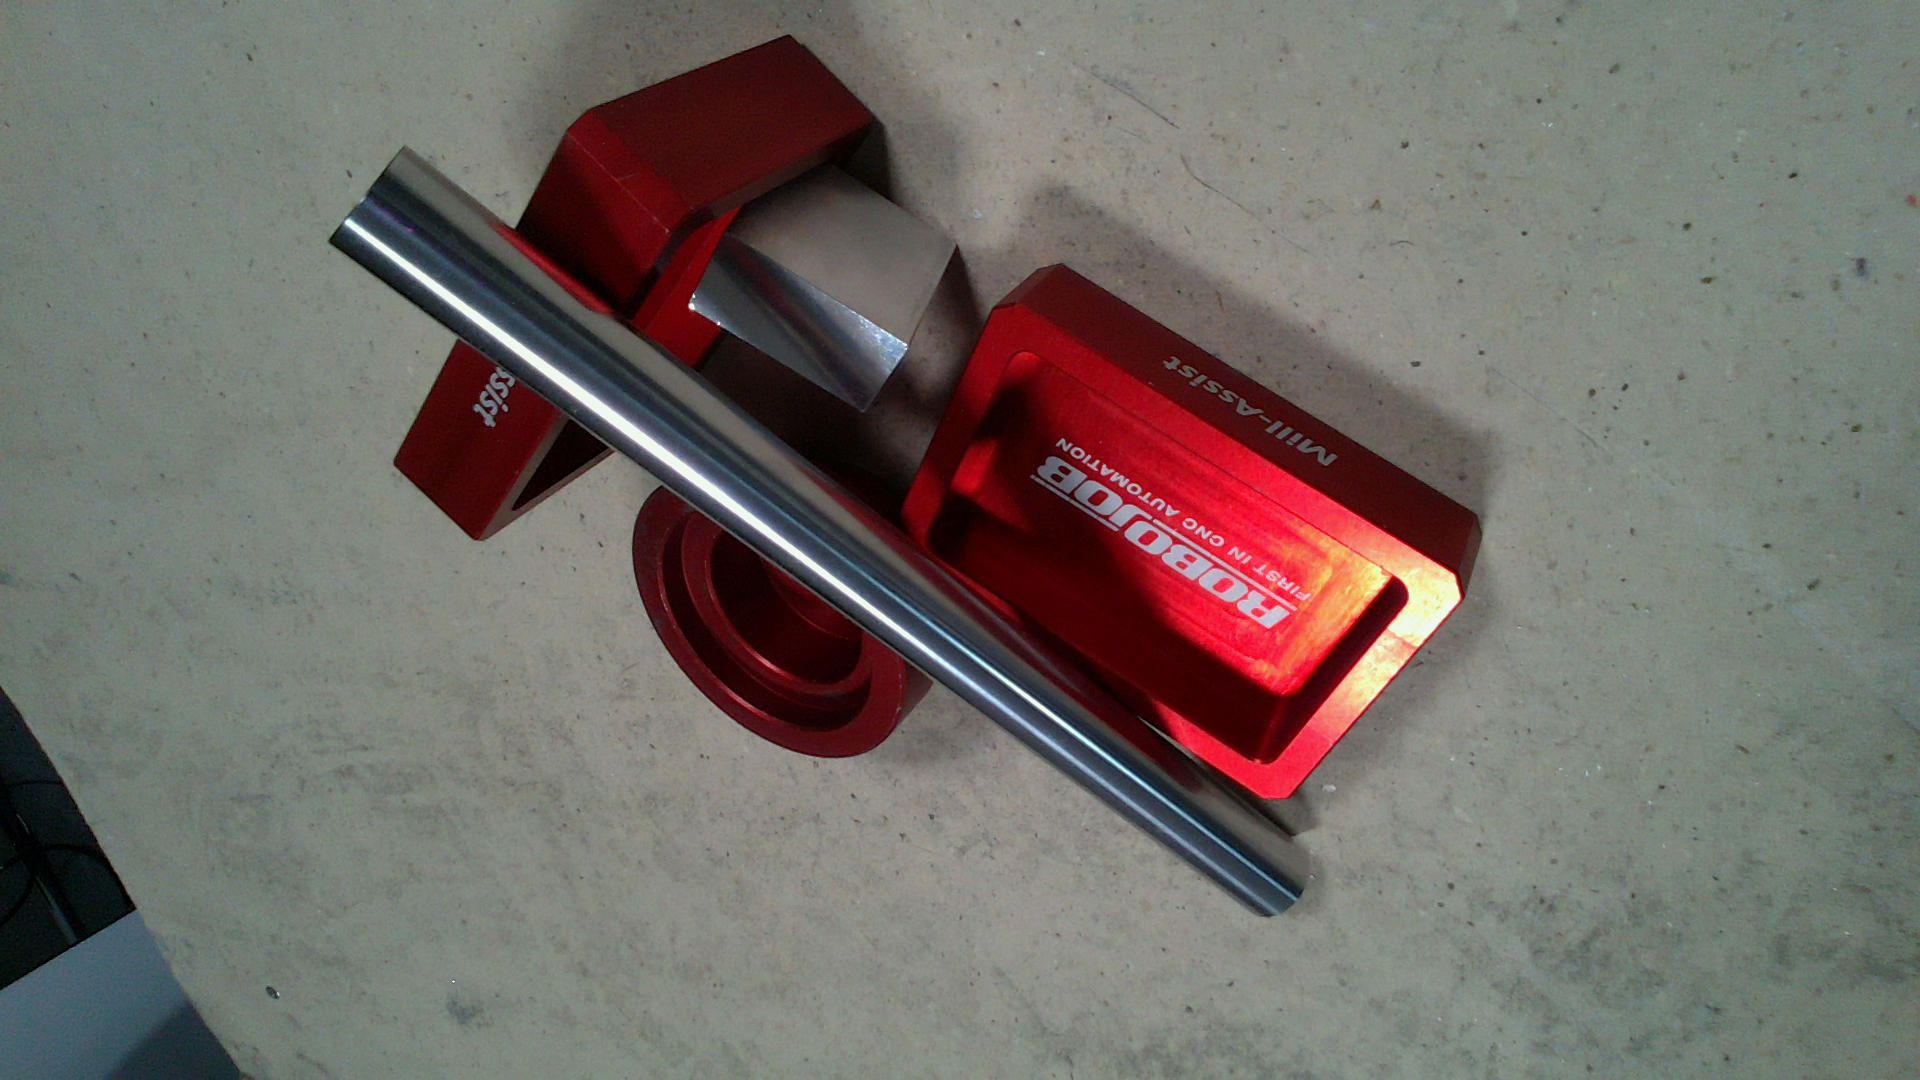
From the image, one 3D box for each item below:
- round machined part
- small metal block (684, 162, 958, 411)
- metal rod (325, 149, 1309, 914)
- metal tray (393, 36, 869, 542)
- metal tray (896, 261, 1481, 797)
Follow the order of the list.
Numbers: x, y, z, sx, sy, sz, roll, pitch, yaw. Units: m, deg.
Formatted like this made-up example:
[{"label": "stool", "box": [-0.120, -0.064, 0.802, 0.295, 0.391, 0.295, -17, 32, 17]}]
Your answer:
[{"label": "round machined part", "box": [-0.047, 0.014, 0.411, 0.098, 0.042, 0.098, 19, 131, 23]}, {"label": "small metal block", "box": [-0.034, -0.068, 0.347, 0.050, 0.050, 0.025, 31, 132, -10]}, {"label": "metal rod", "box": [-0.013, 0.015, 0.340, 0.301, 0.025, 0.025, 38, 133, -26]}, {"label": "metal tray", "box": [-0.086, -0.063, 0.357, 0.030, 0.090, 0.130, 44, 129, -2]}, {"label": "metal tray", "box": [0.054, -0.001, 0.360, 0.130, 0.030, 0.090, 33, 129, 7]}]
